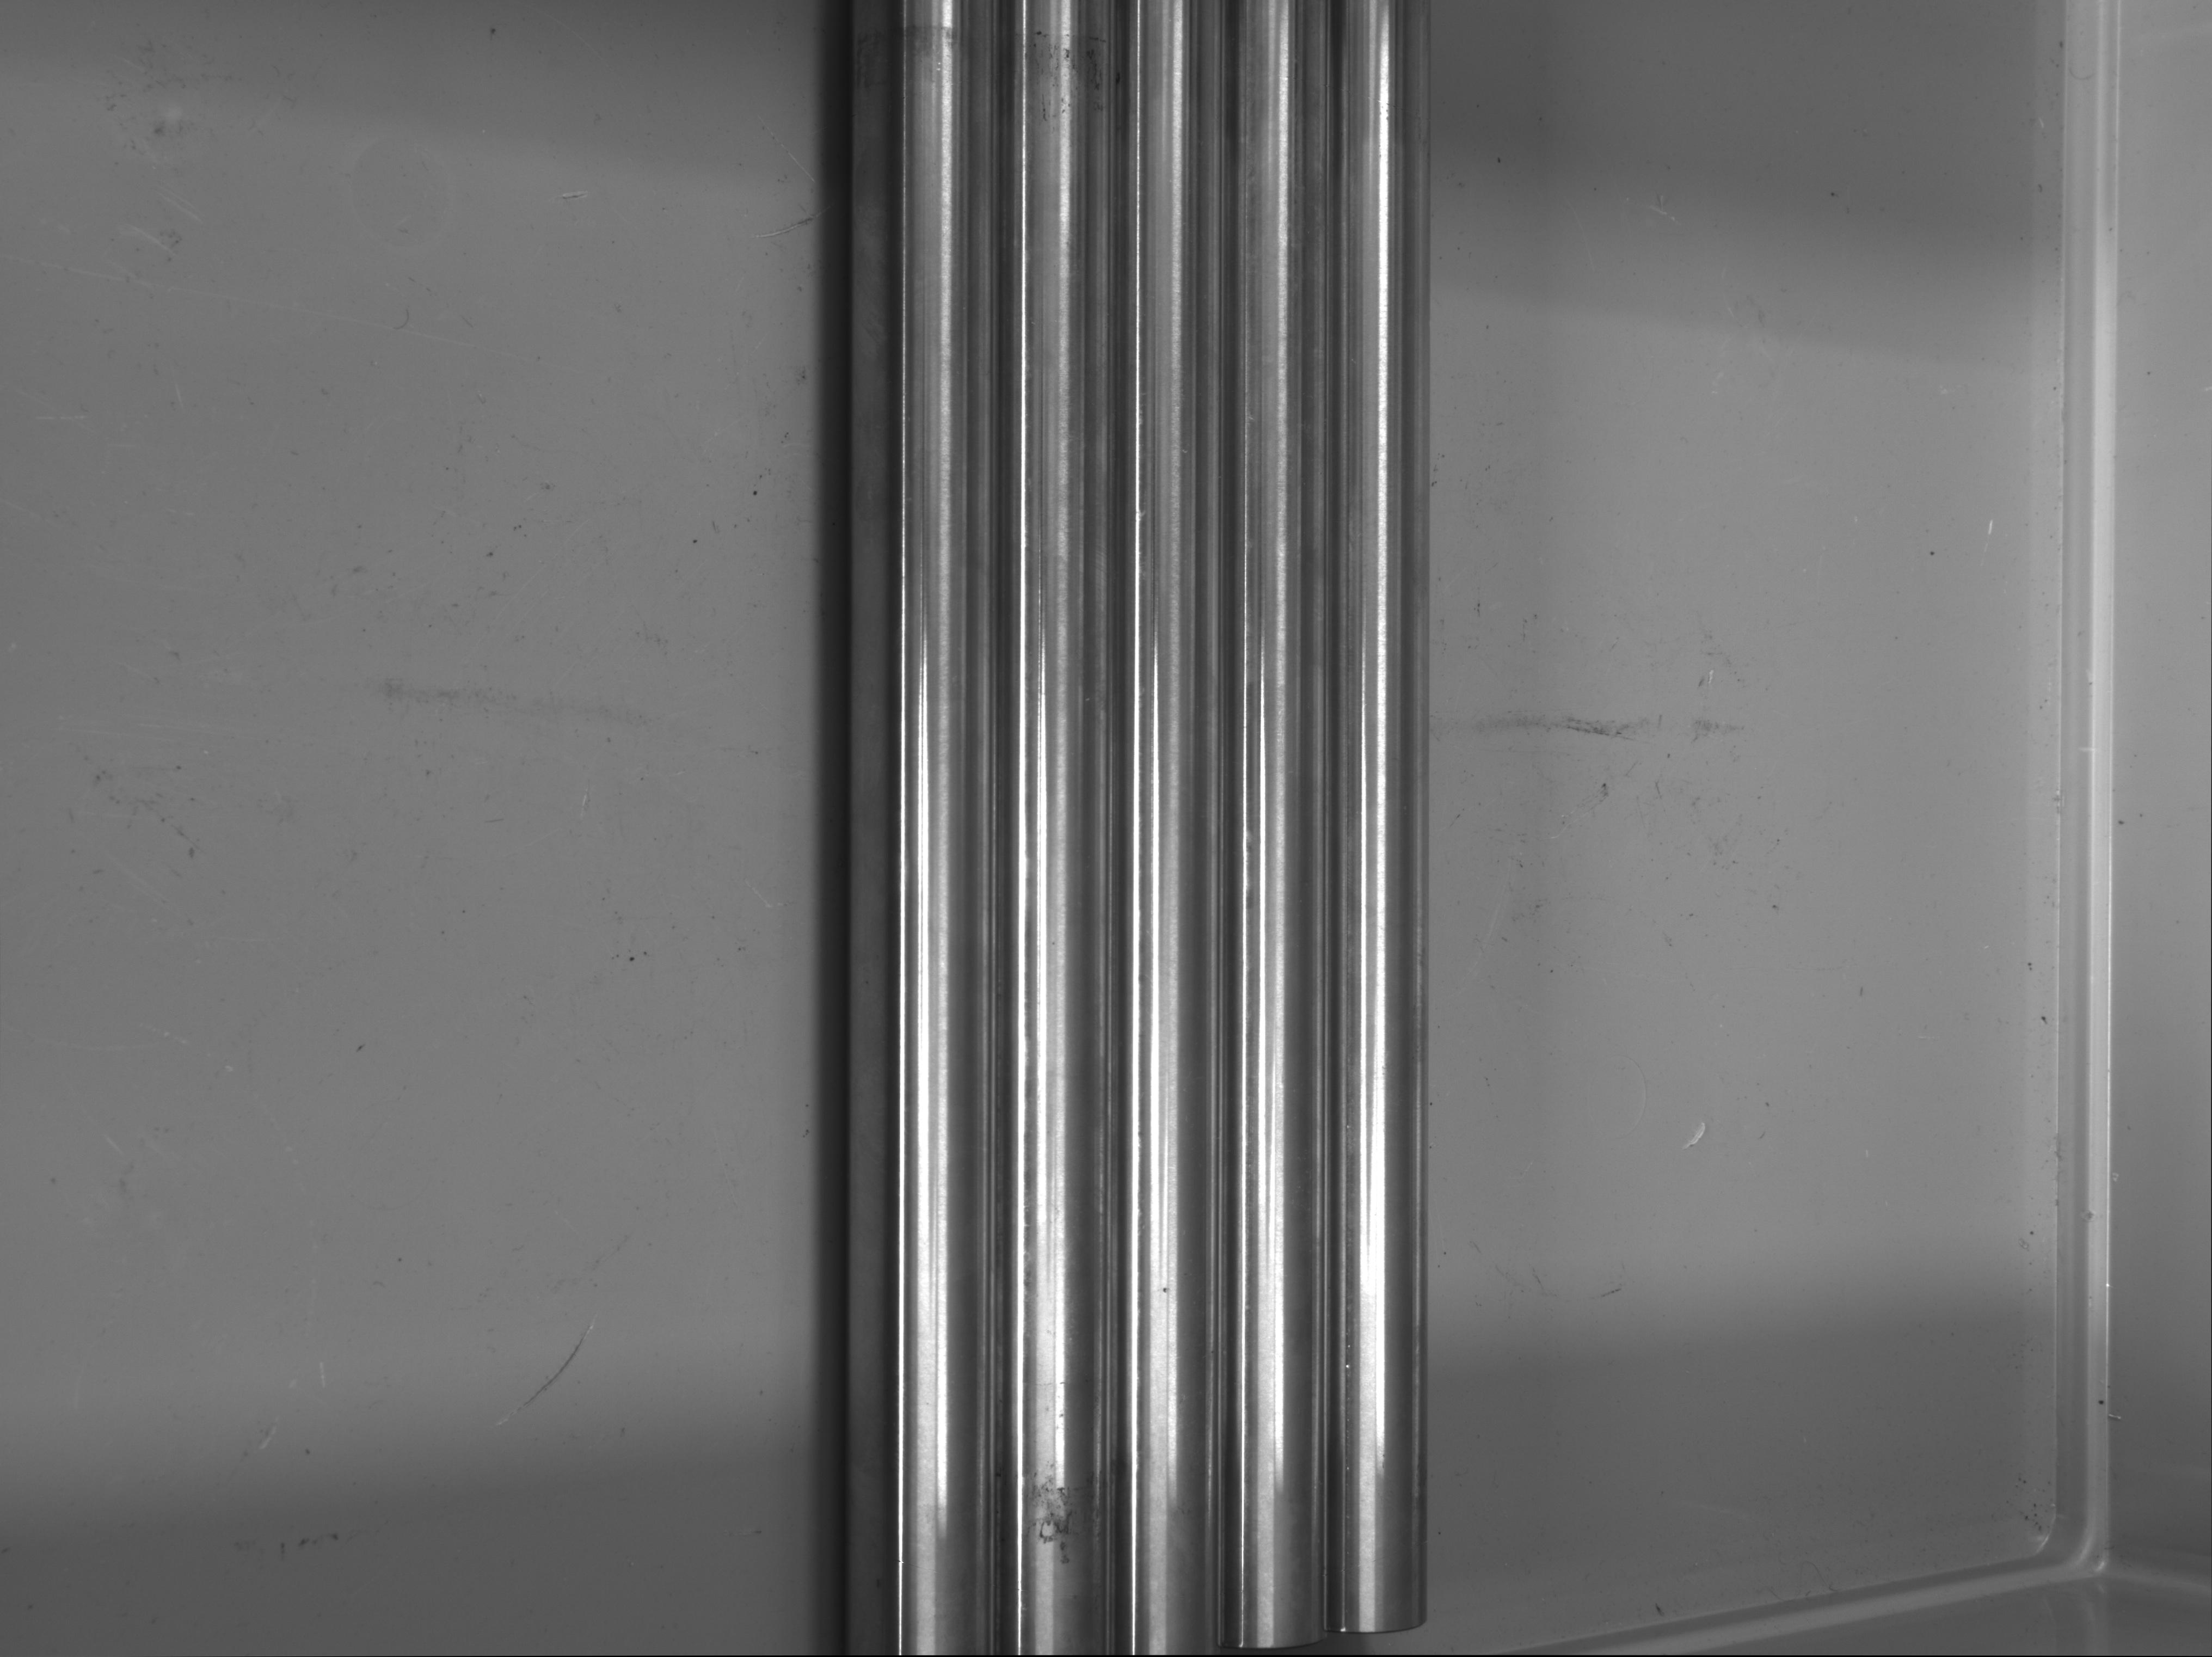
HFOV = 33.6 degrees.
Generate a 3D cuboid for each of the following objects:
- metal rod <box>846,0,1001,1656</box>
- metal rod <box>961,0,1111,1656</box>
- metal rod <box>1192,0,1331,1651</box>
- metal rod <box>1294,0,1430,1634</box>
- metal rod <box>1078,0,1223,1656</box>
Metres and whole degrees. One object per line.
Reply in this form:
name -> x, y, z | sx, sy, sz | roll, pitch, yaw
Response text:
metal rod -> -0.030, -0.005, 0.609 | 0.025, 0.025, 0.300 | 0, 90, -40
metal rod -> -0.012, -0.006, 0.625 | 0.025, 0.025, 0.300 | 0, 90, -40
metal rod -> 0.027, -0.005, 0.657 | 0.025, 0.025, 0.300 | 0, 90, -40
metal rod -> 0.047, -0.005, 0.673 | 0.025, 0.025, 0.300 | 0, 90, -40
metal rod -> 0.008, -0.006, 0.641 | 0.025, 0.025, 0.300 | 0, 90, -40
